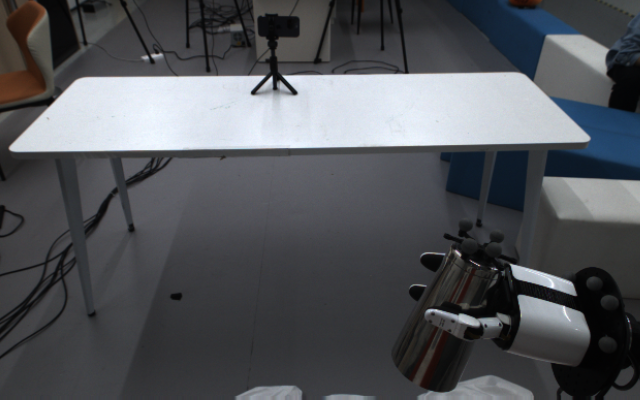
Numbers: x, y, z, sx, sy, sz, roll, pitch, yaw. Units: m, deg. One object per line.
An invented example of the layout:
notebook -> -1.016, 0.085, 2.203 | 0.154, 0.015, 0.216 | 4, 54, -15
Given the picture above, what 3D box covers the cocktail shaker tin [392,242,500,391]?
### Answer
cocktail shaker tin -> 0.163, 0.139, 0.603 | 0.093, 0.170, 0.093 | 16, 21, -6
